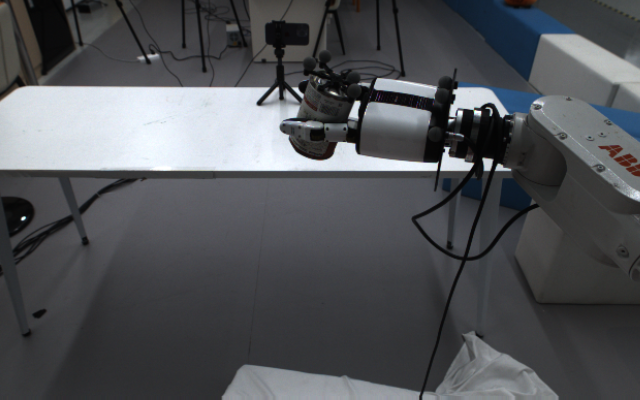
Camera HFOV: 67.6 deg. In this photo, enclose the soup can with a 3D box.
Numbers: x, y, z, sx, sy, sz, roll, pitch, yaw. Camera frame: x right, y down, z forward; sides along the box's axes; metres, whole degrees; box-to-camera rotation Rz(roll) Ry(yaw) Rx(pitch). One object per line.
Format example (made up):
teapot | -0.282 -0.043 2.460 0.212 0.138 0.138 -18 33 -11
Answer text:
soup can | 0.004 -0.114 0.660 0.067 0.101 0.067 14 39 -12
